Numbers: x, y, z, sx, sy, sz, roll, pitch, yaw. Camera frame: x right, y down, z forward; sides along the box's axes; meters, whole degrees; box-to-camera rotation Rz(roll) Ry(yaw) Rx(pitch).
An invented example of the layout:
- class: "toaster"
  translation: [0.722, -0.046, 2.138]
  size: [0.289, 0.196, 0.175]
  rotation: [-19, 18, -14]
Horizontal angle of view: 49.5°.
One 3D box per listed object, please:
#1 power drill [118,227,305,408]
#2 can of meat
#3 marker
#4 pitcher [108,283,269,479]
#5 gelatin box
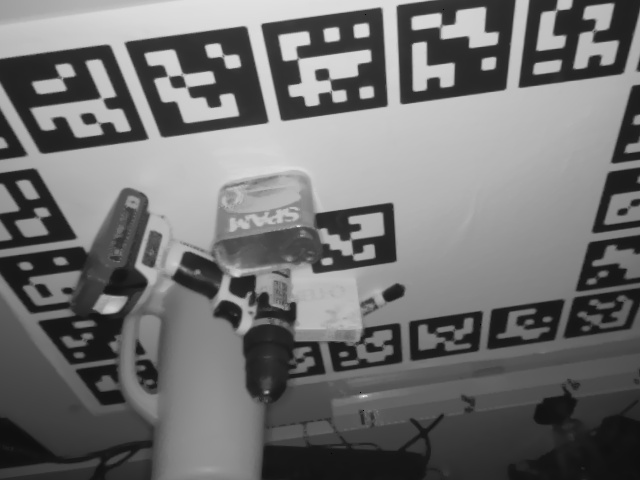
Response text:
- class: "power drill"
  translation: [-0.101, 0.071, 0.703]
  size: [0.188, 0.186, 0.056]
  rotation: [23, 125, -17]
- class: "can of meat"
  translation: [-0.044, -0.015, 0.691]
  size: [0.102, 0.084, 0.057]
  rotation: [-8, 136, 2]
- class: "marker"
  translation: [0.063, 0.105, 0.864]
  size: [0.120, 0.020, 0.020]
  rotation: [-28, 129, 18]
- class: "pitcher"
  translation: [-0.134, 0.166, 0.758]
  size: [0.191, 0.243, 0.131]
  rotation: [13, 128, -26]
- class: "gelatin box"
  translation: [0.004, 0.090, 0.810]
  size: [0.090, 0.074, 0.030]
  rotation: [1, 130, -5]
